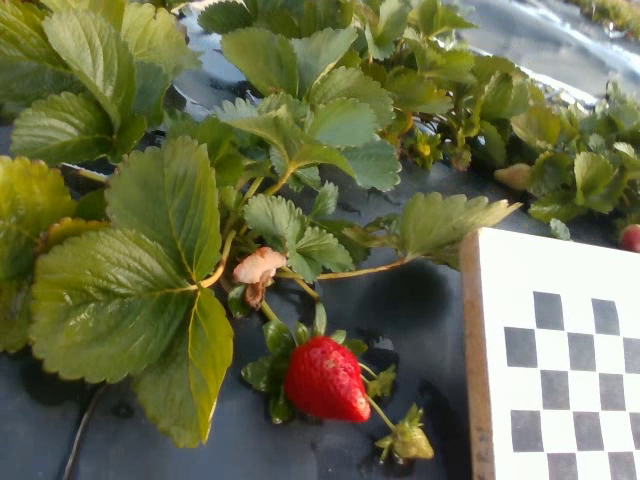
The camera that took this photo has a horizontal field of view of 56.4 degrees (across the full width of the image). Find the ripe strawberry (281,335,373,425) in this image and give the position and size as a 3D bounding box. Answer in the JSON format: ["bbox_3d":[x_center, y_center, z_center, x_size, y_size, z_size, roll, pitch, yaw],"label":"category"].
[{"bbox_3d":[0.010,0.079,0.311,0.043,0.052,0.057,-20,21,-23],"label":"ripe strawberry"}]
